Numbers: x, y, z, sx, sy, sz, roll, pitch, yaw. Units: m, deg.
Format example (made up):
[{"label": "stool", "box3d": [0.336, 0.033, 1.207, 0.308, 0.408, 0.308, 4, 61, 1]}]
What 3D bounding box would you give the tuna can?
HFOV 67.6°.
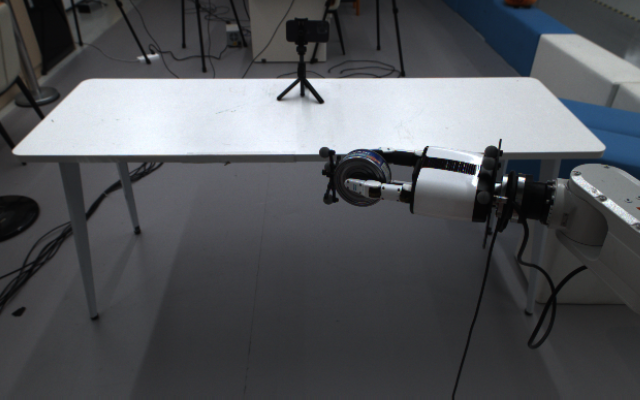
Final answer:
[{"label": "tuna can", "box3d": [0.068, -0.032, 0.745, 0.085, 0.085, 0.034, 12, 28, 14]}]
